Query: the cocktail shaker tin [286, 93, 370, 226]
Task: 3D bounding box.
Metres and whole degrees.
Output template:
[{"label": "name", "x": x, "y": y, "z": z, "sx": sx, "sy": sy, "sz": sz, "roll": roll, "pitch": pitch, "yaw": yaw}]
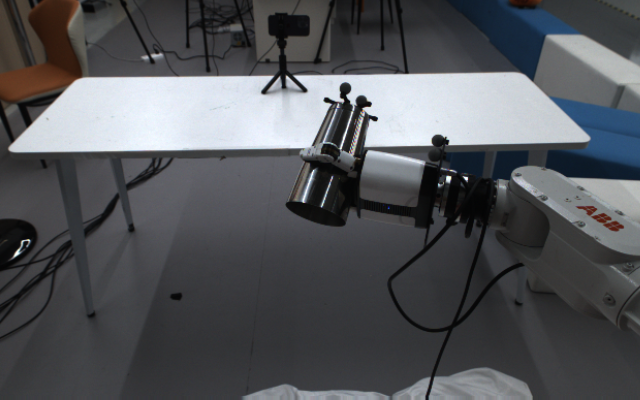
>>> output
[{"label": "cocktail shaker tin", "x": 0.018, "y": -0.056, "z": 0.721, "sx": 0.093, "sy": 0.093, "sz": 0.170, "roll": 14, "pitch": 73, "yaw": 17}]
